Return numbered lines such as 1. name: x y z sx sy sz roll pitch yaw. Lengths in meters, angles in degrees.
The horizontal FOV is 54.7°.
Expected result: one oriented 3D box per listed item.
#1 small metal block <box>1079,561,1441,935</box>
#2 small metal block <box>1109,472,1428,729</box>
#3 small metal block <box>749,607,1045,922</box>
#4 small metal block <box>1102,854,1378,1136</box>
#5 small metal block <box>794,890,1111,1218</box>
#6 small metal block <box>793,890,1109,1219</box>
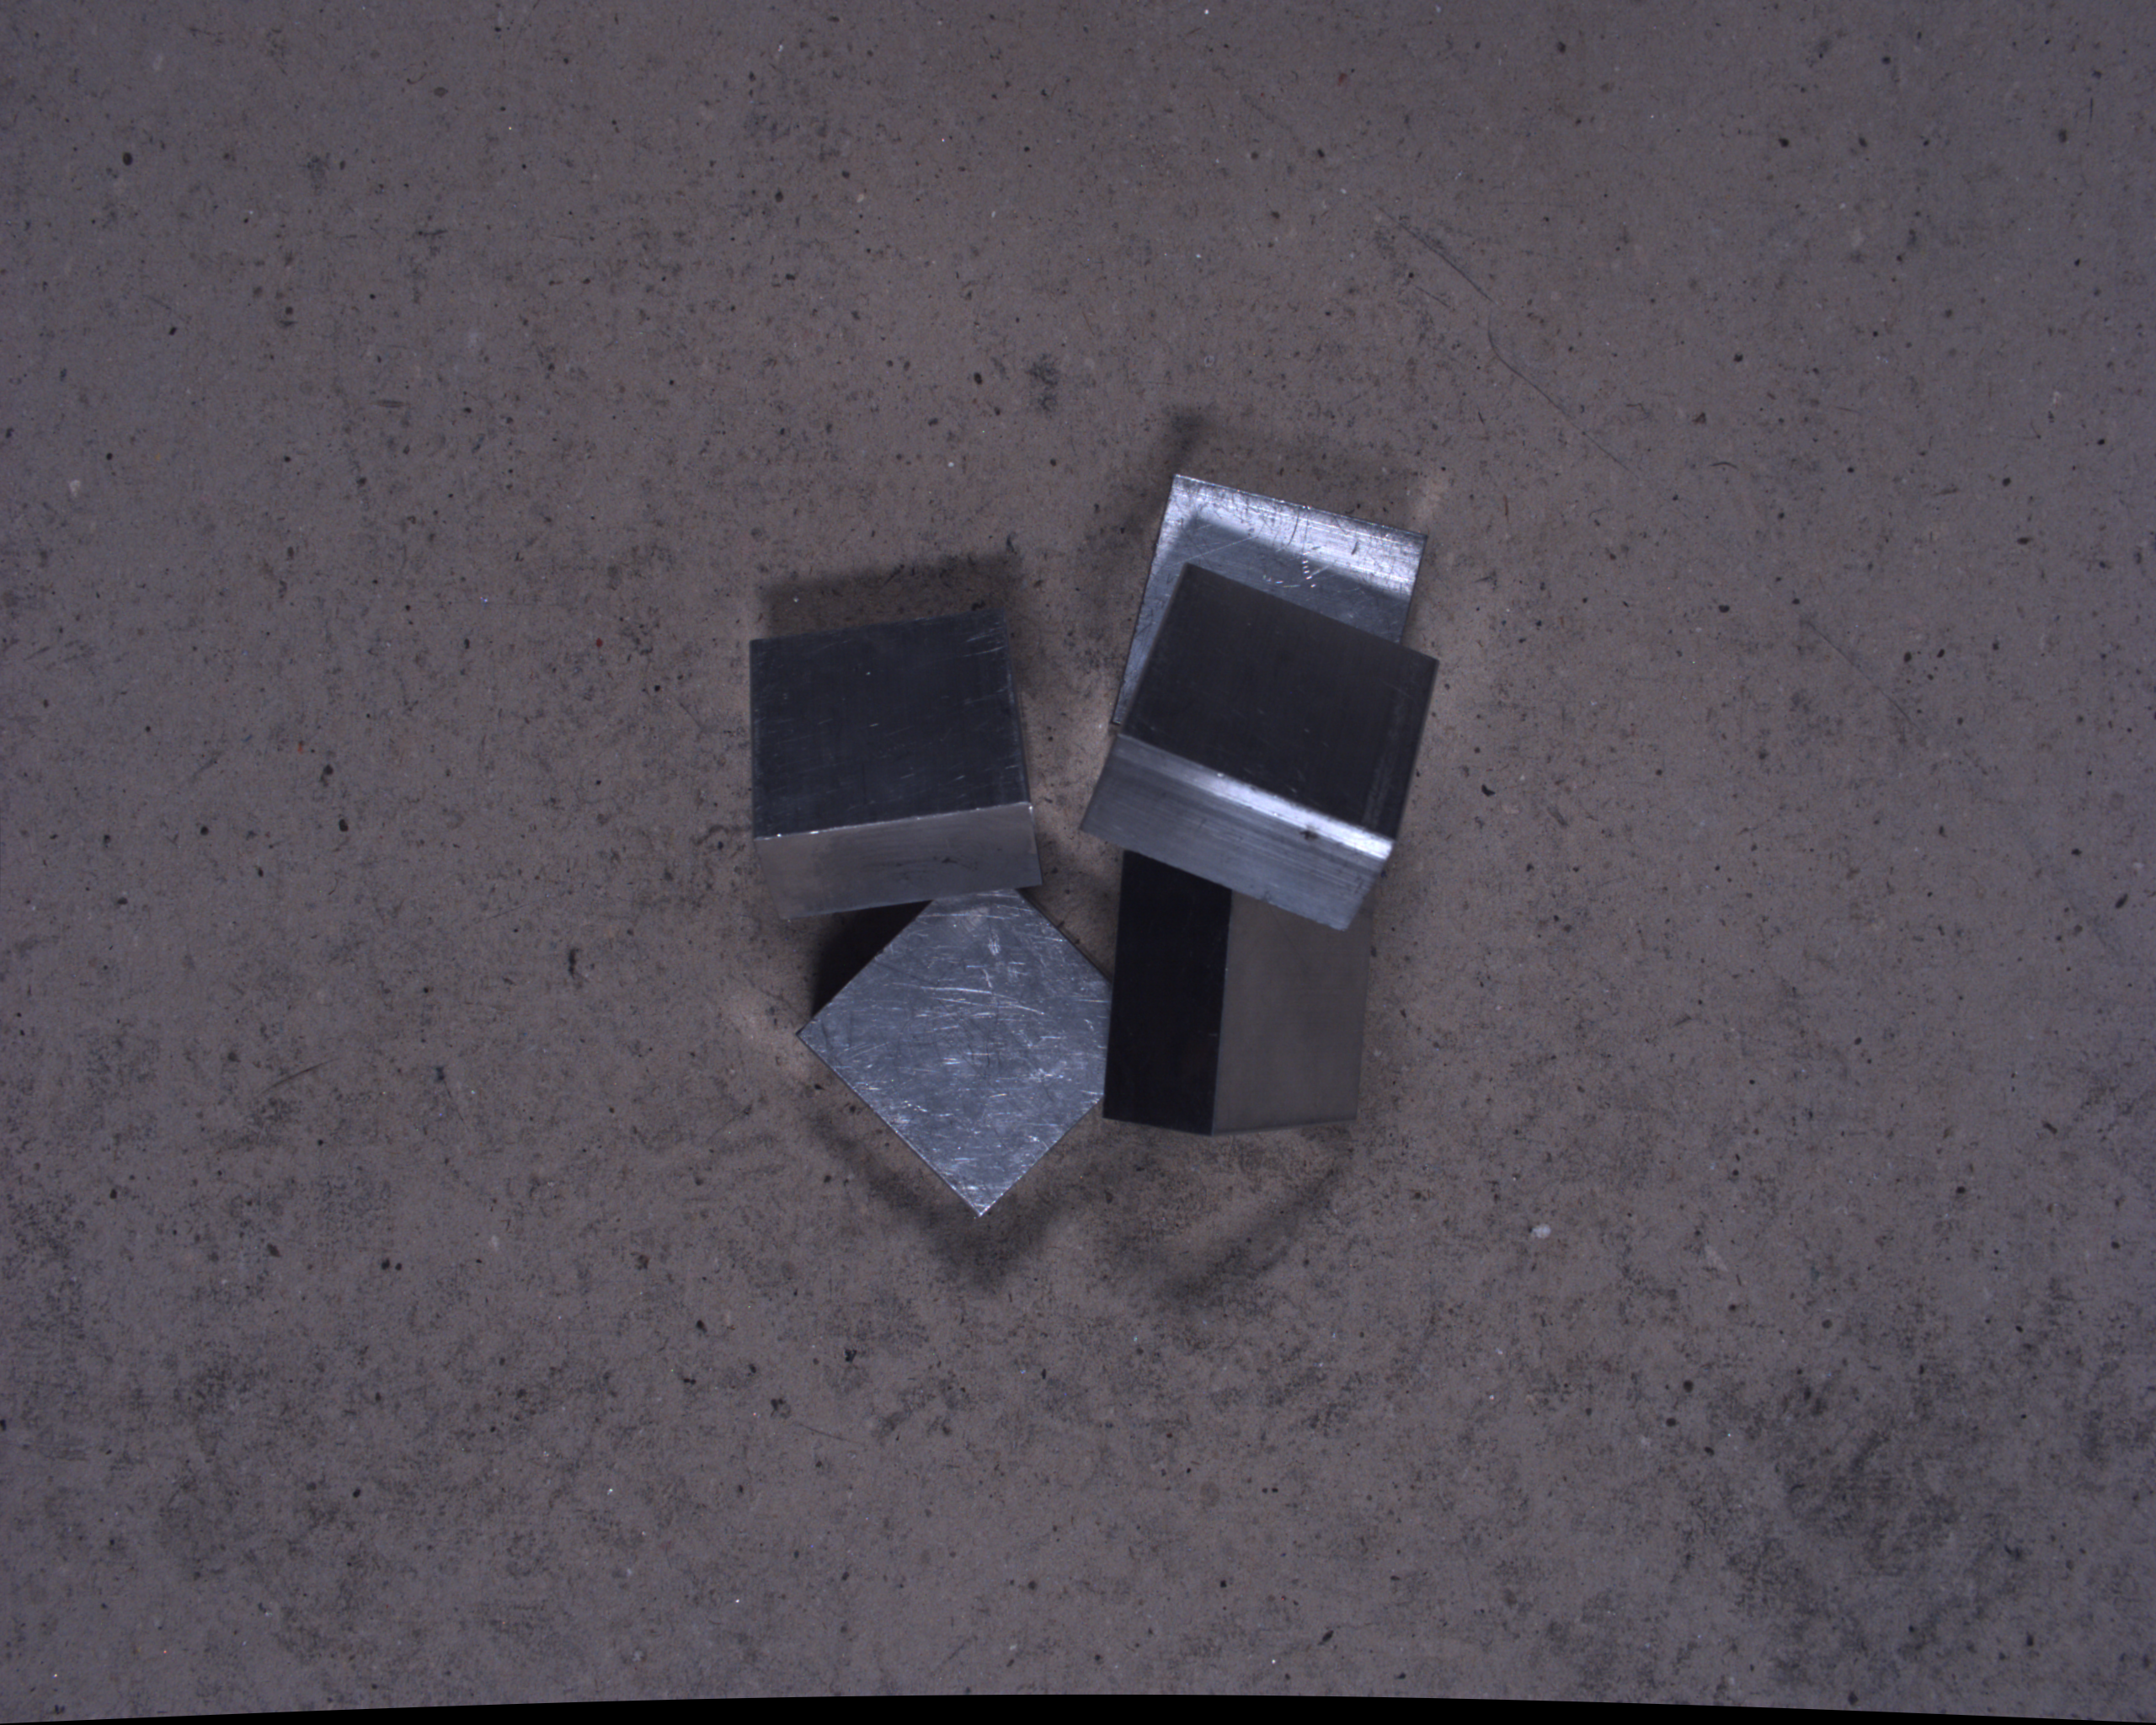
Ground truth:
1. small metal block: 0.033 -0.021 0.373 0.050 0.025 0.050 21 47 -1
2. small metal block: 0.037 -0.045 0.412 0.050 0.025 0.050 14 90 -1
3. small metal block: -0.035 -0.019 0.398 0.050 0.025 0.050 -8 52 -1
4. small metal block: 0.032 0.024 0.397 0.025 0.050 0.050 4 90 38
5. small metal block: -0.019 0.033 0.411 0.050 0.025 0.050 -45 91 0
6. small metal block: -0.019 0.033 0.411 0.050 0.025 0.050 -45 90 0
